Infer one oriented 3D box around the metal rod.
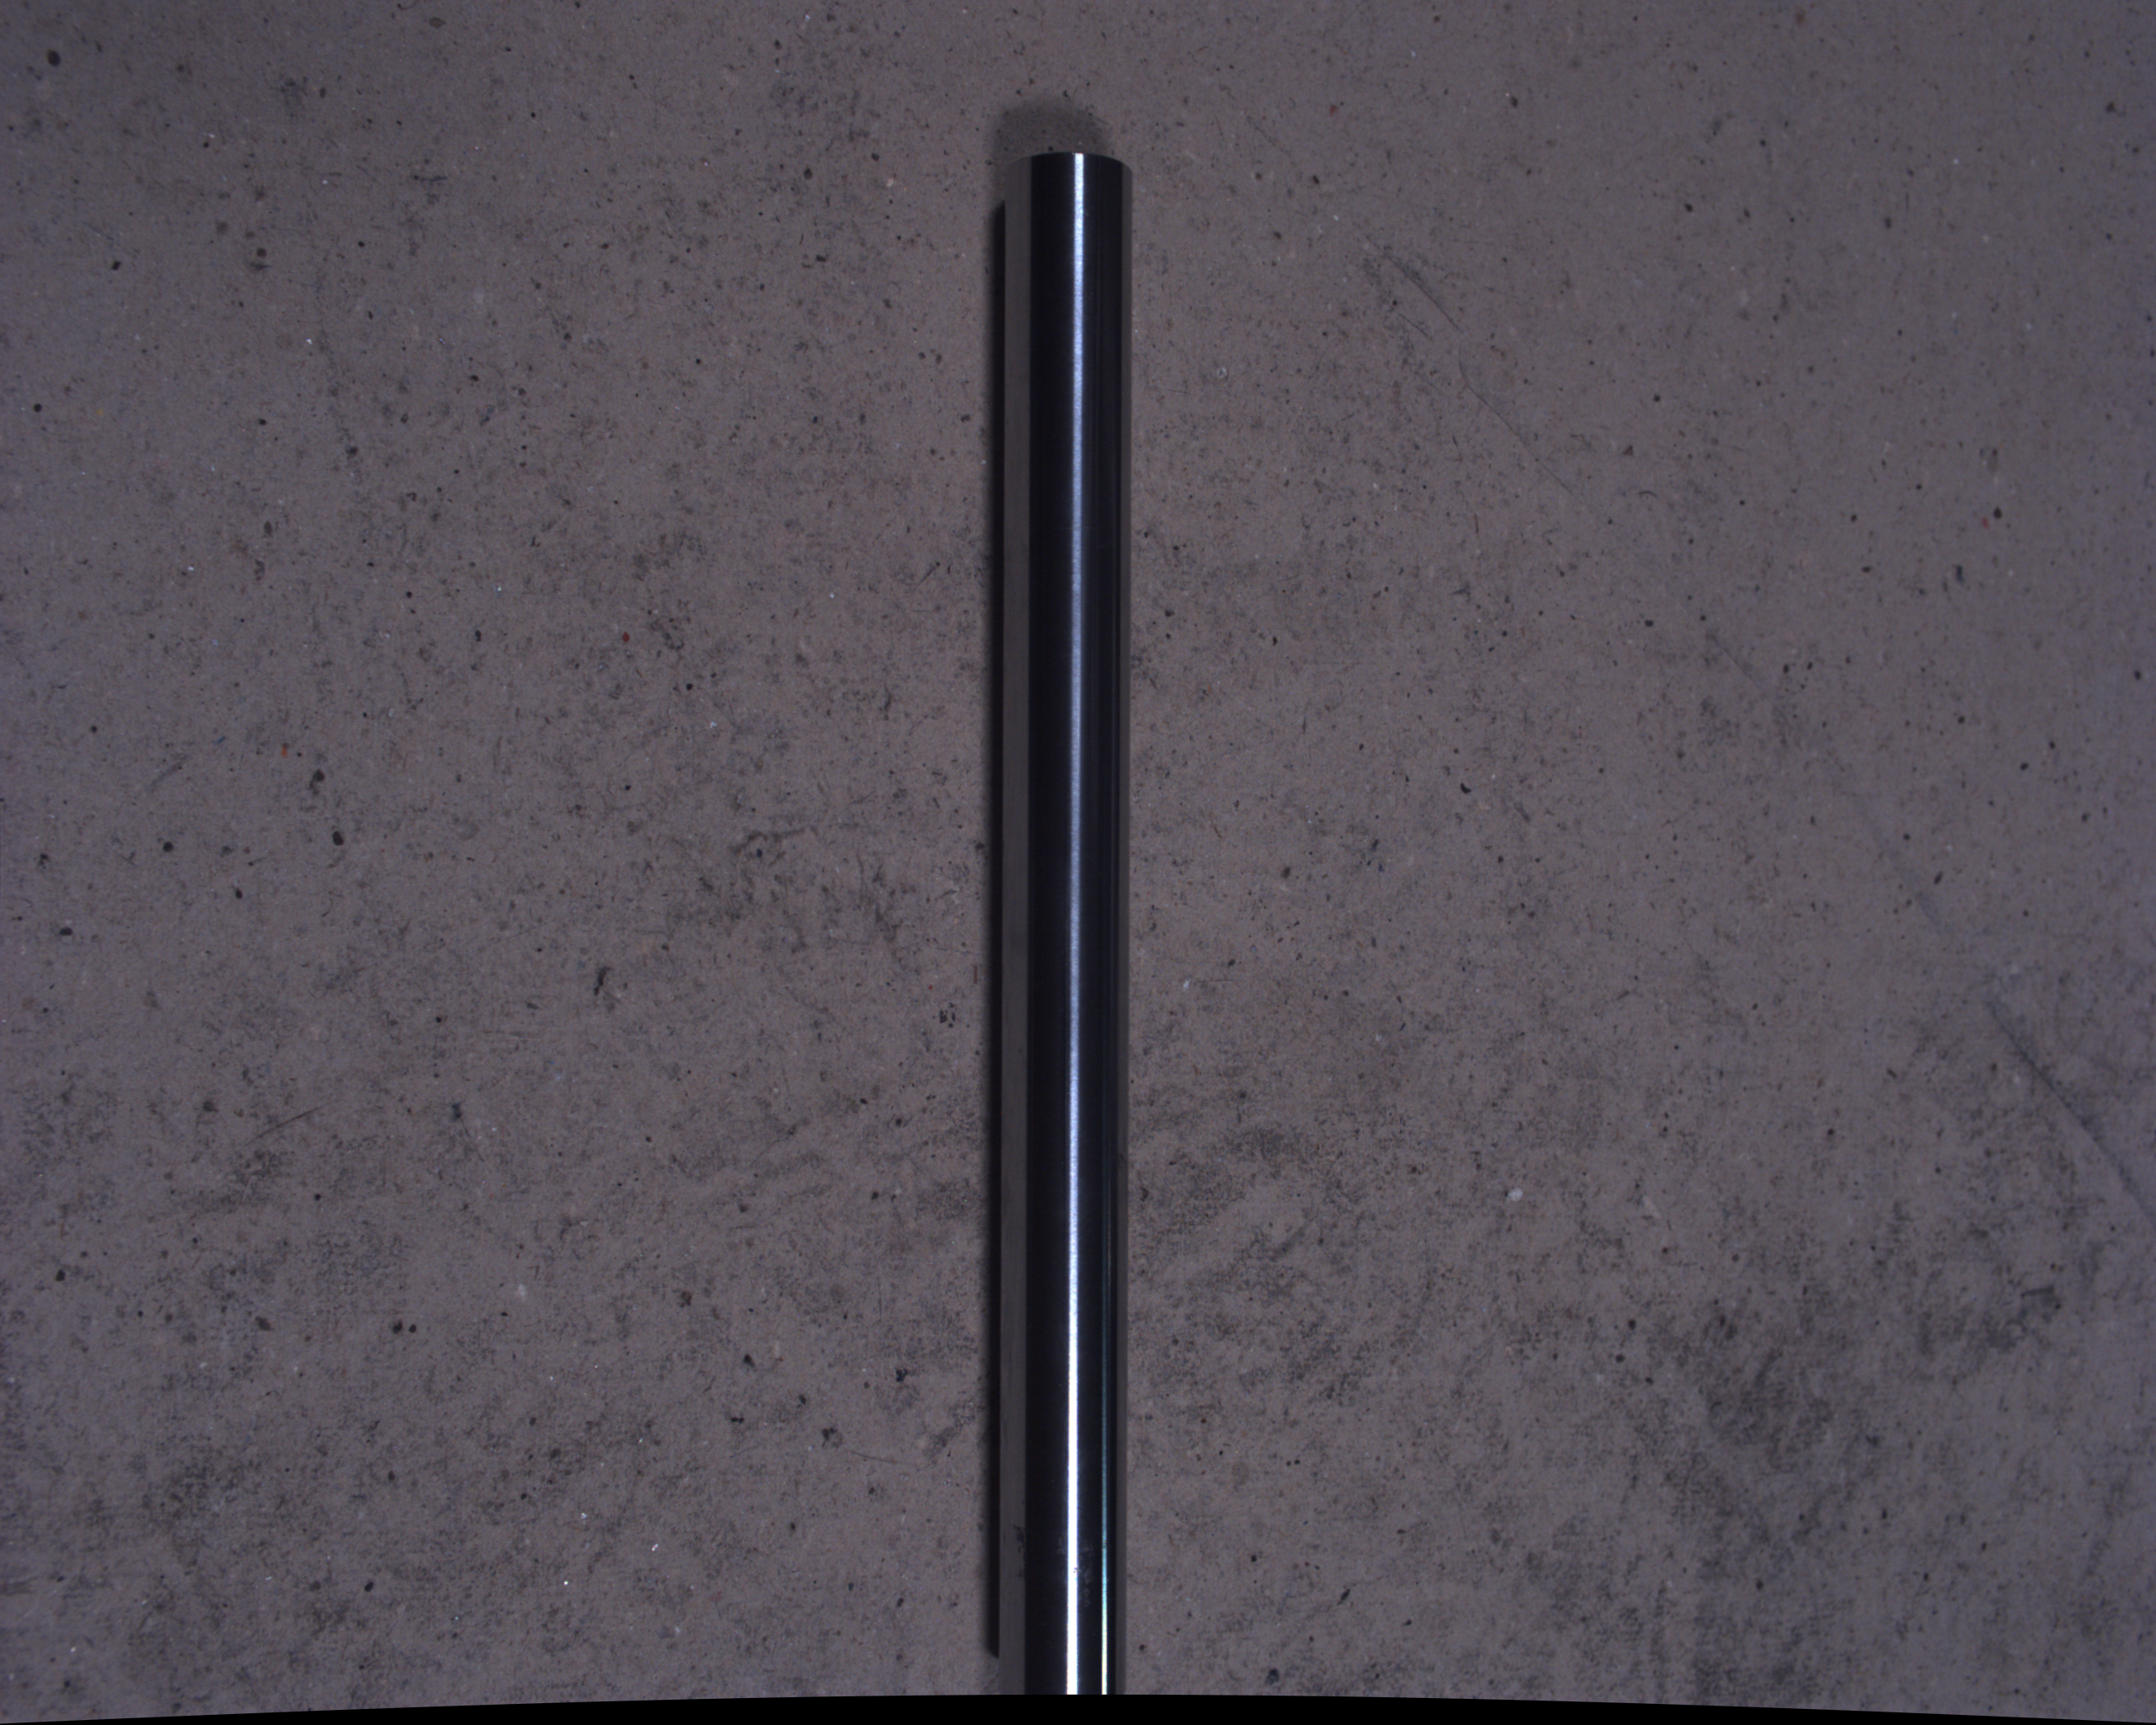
[{"bbox_3d":[-0.003,0.014,0.410,0.025,0.025,0.298,0,90,-20],"label":"metal rod"}]
